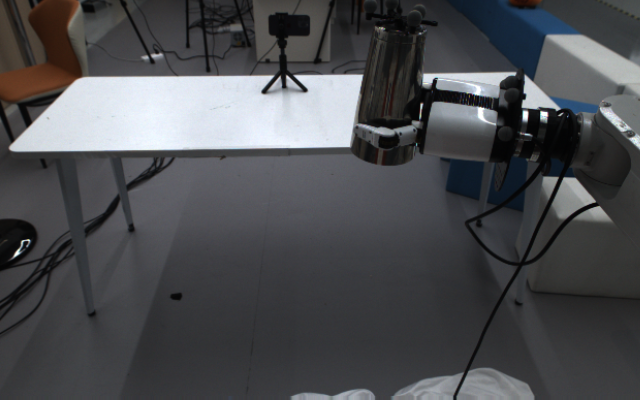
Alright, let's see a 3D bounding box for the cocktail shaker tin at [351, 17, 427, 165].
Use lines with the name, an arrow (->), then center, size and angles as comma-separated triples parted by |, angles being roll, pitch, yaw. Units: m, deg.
cocktail shaker tin -> 0.095, -0.143, 0.639 | 0.093, 0.170, 0.093 | 3, 34, -2
